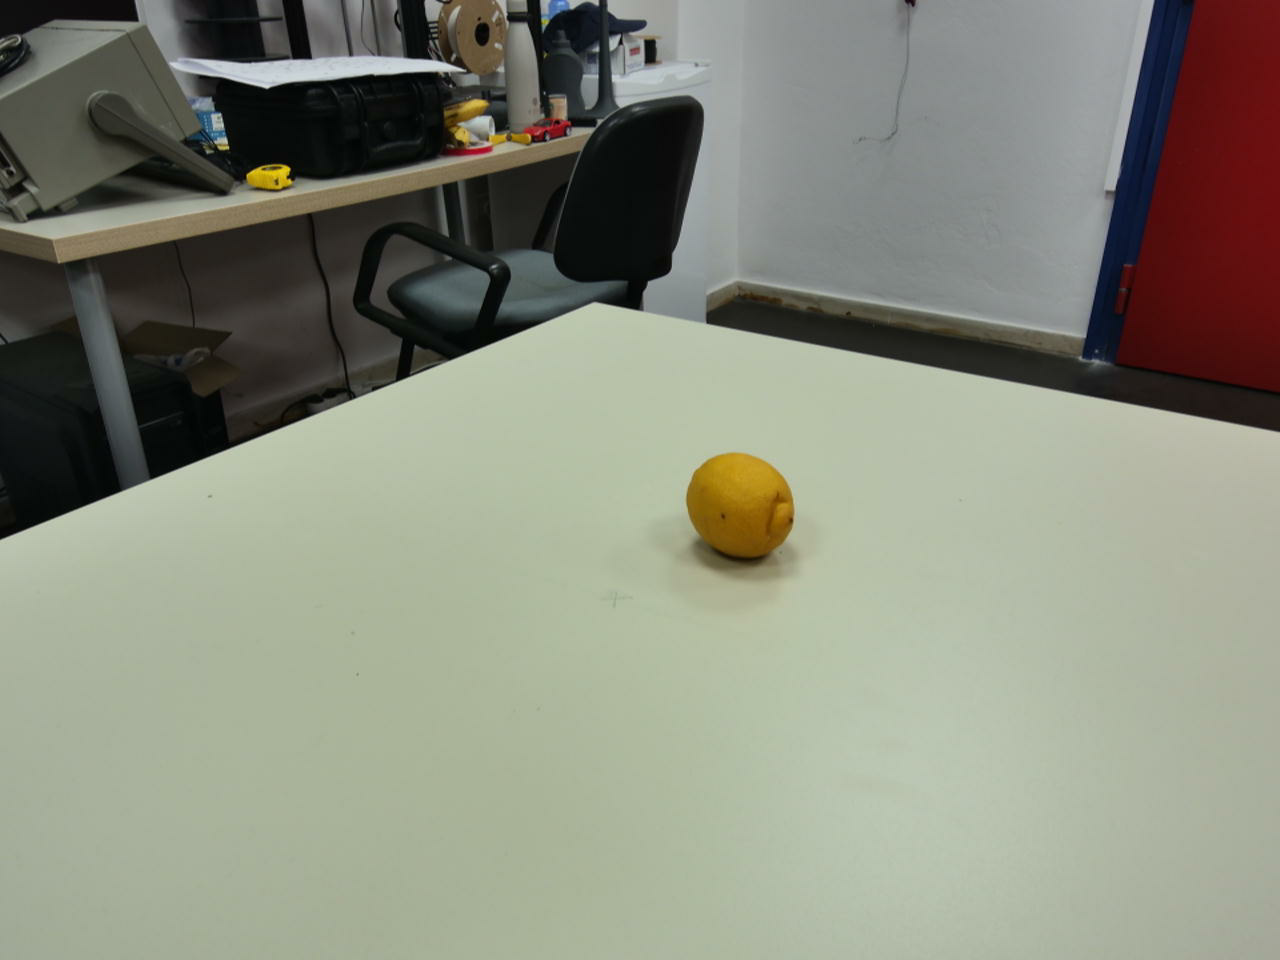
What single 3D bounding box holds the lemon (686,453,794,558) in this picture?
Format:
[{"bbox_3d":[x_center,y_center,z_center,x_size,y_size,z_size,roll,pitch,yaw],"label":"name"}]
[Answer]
[{"bbox_3d":[0.059,0.016,0.591,0.061,0.059,0.067,-5,25,-11],"label":"lemon"}]
